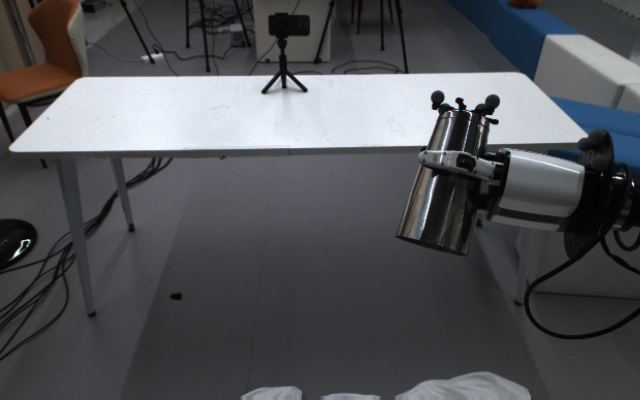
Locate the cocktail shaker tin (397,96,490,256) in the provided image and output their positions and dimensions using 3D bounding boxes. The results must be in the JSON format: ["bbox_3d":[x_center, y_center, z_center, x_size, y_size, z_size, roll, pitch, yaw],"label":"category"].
[{"bbox_3d":[0.162,-0.024,0.616,0.093,0.170,0.093,16,-6,2],"label":"cocktail shaker tin"}]
